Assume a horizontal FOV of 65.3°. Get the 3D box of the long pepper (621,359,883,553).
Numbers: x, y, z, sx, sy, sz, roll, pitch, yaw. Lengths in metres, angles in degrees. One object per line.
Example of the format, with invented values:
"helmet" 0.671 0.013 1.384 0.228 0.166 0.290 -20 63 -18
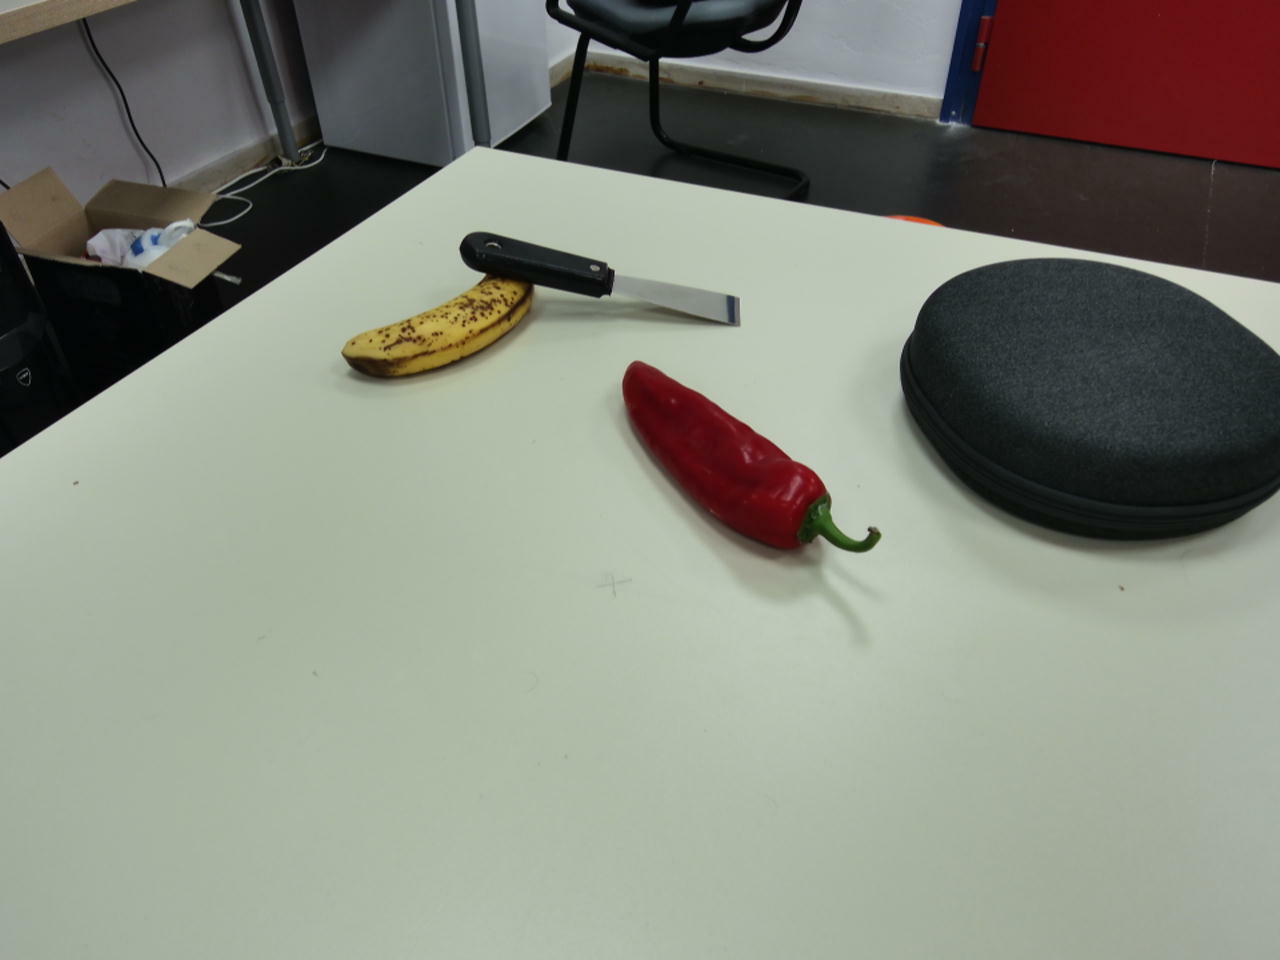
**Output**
"long pepper" 0.045 -0.013 0.534 0.050 0.043 0.211 -21 43 -25
